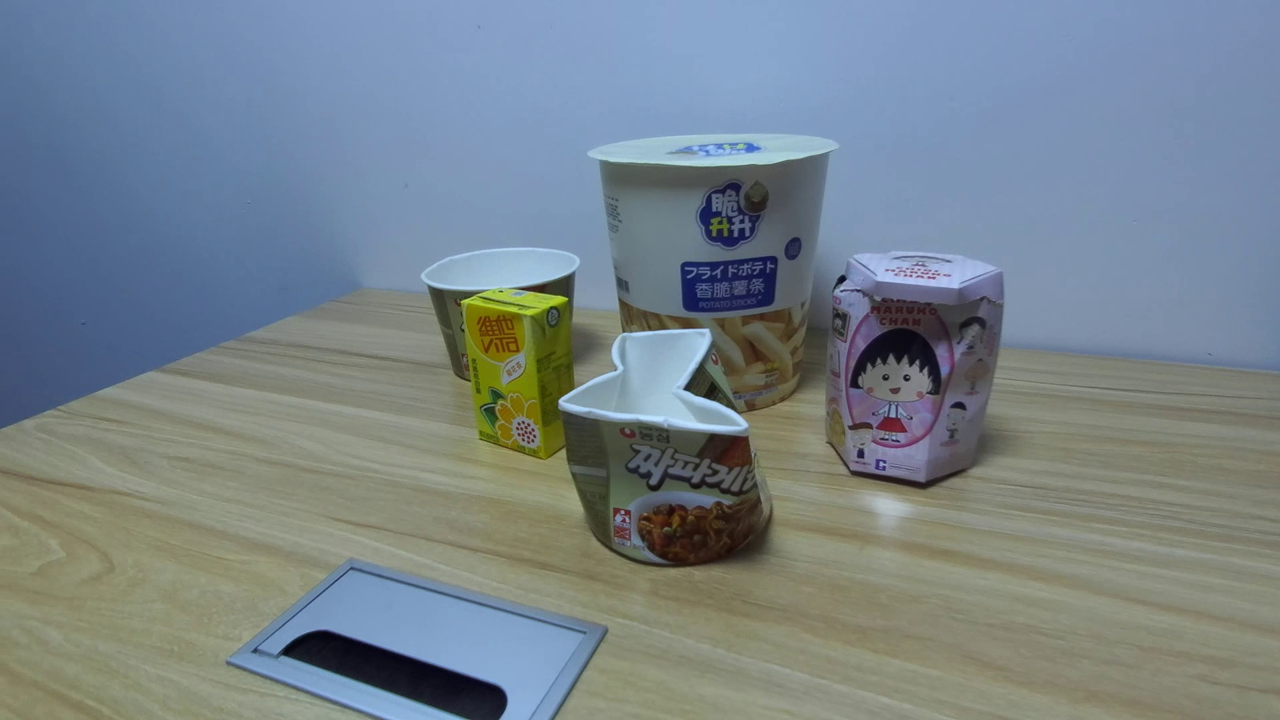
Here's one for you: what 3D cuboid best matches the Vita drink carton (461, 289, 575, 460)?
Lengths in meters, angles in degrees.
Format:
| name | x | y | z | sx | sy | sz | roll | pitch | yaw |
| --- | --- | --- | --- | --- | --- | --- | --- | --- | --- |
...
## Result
| name | x | y | z | sx | sy | sz | roll | pitch | yaw |
| --- | --- | --- | --- | --- | --- | --- | --- | --- | --- |
| Vita drink carton | -0.084 | 0.007 | 0.506 | 0.066 | 0.109 | 0.044 | 12 | 27 | 30 |

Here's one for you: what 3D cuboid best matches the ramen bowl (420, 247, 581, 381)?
| name | x | y | z | sx | sy | sz | roll | pitch | yaw |
| --- | --- | --- | --- | --- | --- | --- | --- | --- | --- |
| ramen bowl | -0.123 | -0.043 | 0.657 | 0.140 | 0.095 | 0.140 | -2 | 24 | 1 |

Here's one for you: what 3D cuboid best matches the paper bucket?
| name | x | y | z | sx | sy | sz | roll | pitch | yaw |
| --- | --- | --- | --- | --- | --- | --- | --- | --- | --- |
| paper bucket | 0.058 | -0.072 | 0.572 | 0.198 | 0.195 | 0.198 | -2 | 22 | 1 |

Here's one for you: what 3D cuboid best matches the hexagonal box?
| name | x | y | z | sx | sy | sz | roll | pitch | yaw |
| --- | --- | --- | --- | --- | --- | --- | --- | --- | --- |
| hexagonal box | 0.173 | 0.003 | 0.460 | 0.090 | 0.134 | 0.091 | -9 | 22 | -23 |

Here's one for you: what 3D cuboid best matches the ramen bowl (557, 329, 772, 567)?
| name | x | y | z | sx | sy | sz | roll | pitch | yaw |
| --- | --- | --- | --- | --- | --- | --- | --- | --- | --- |
| ramen bowl | 0.023 | 0.046 | 0.418 | 0.111 | 0.093 | 0.128 | 5 | 24 | 16 |
